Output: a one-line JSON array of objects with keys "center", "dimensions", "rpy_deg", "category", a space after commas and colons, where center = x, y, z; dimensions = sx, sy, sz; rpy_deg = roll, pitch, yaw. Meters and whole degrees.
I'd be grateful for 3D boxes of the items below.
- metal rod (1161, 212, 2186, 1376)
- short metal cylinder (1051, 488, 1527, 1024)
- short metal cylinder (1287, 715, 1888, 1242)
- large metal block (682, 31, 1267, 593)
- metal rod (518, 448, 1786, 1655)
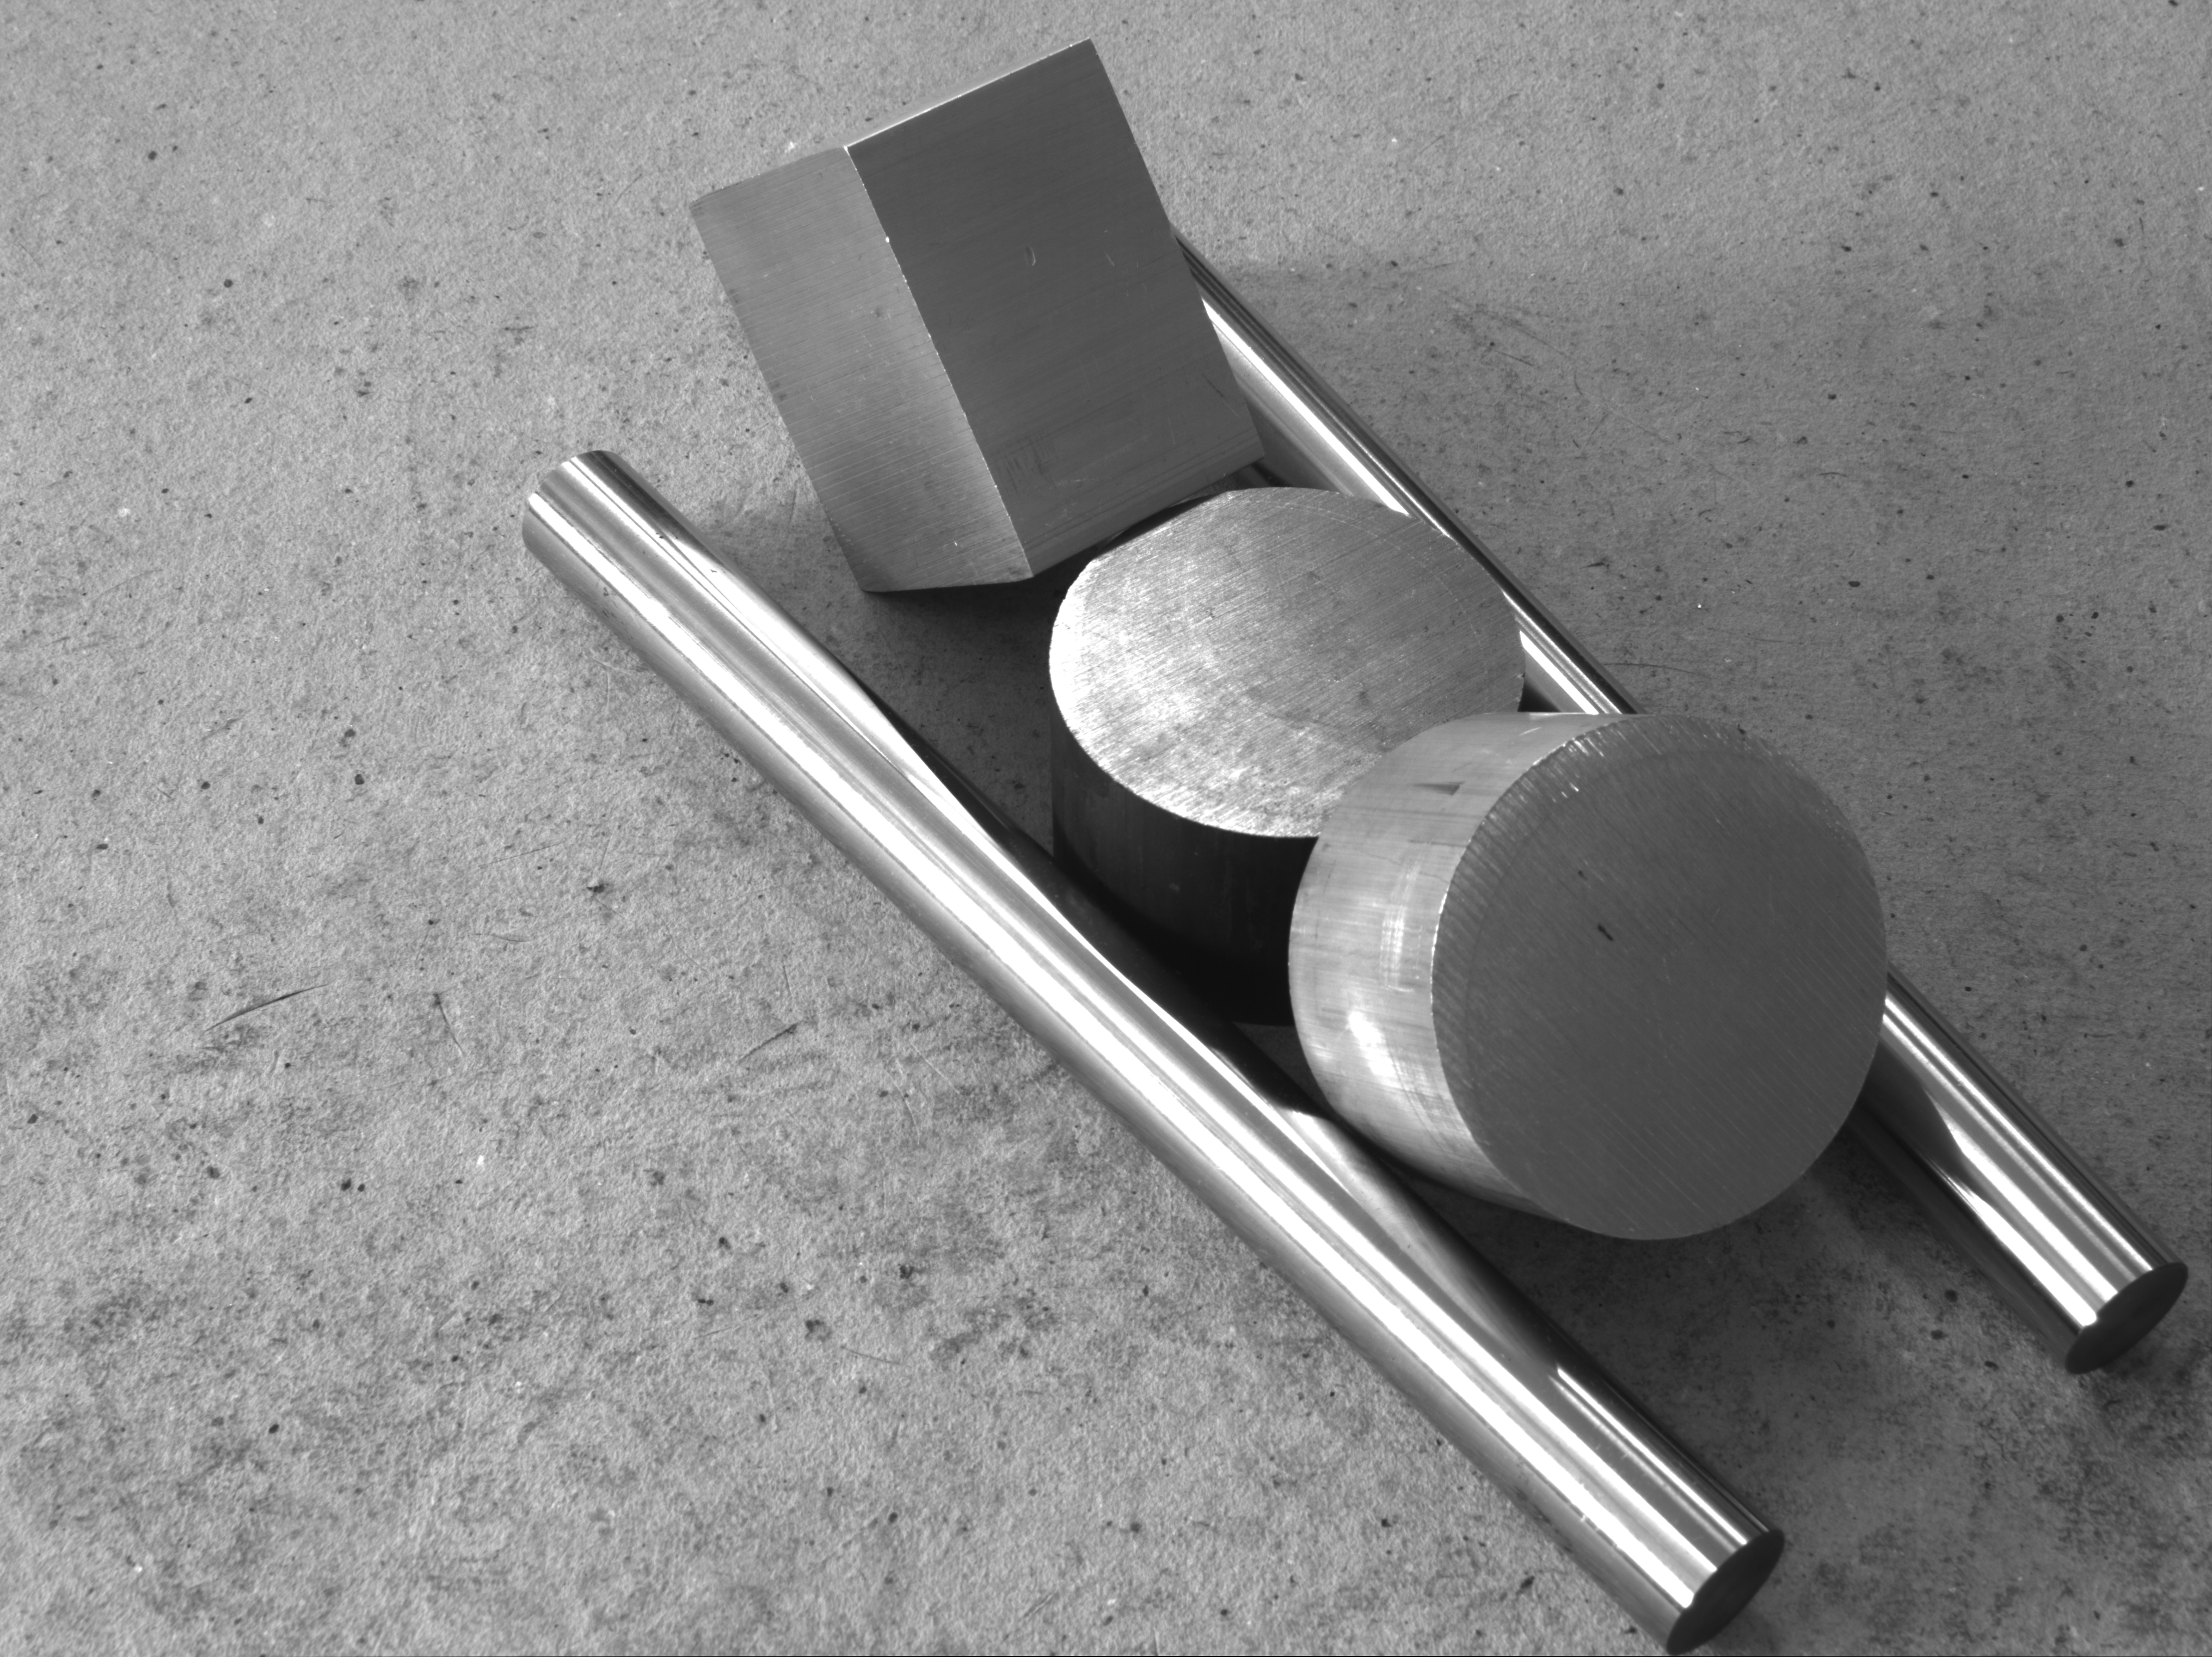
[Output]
[{"center": [0.081, -0.020, 0.659], "dimensions": [0.025, 0.025, 0.299], "rpy_deg": [-26, 54, -20], "category": "metal rod"}, {"center": [0.031, -0.013, 0.637], "dimensions": [0.080, 0.050, 0.080], "rpy_deg": [0, 50, 0], "category": "short metal cylinder"}, {"center": [0.075, 0.022, 0.580], "dimensions": [0.080, 0.080, 0.050], "rpy_deg": [-25, 12, -19], "category": "short metal cylinder"}, {"center": [-0.025, -0.091, 0.663], "dimensions": [0.050, 0.080, 0.080], "rpy_deg": [-29, 14, -22], "category": "large metal block"}, {"center": [-0.004, 0.026, 0.620], "dimensions": [0.025, 0.025, 0.299], "rpy_deg": [-33, 57, -24], "category": "metal rod"}]
